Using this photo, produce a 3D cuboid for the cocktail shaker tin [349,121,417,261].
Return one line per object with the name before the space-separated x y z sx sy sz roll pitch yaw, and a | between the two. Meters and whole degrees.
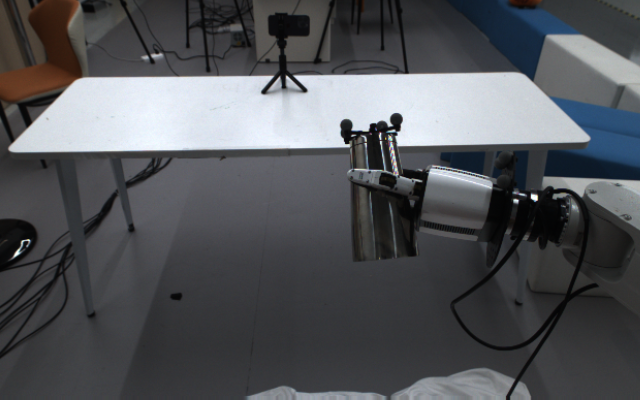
cocktail shaker tin | 0.083 -0.003 0.676 0.093 0.170 0.093 -6 -7 -1
